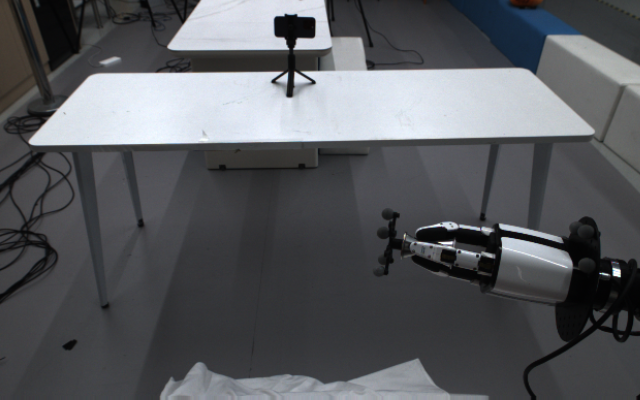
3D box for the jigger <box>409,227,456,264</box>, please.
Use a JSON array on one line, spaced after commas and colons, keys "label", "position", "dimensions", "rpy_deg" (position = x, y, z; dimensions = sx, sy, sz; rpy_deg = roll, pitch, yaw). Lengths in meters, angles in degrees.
[{"label": "jigger", "position": [0.153, 0.064, 0.659], "dimensions": [0.071, 0.043, 0.043], "rpy_deg": [8, 35, 15]}]
